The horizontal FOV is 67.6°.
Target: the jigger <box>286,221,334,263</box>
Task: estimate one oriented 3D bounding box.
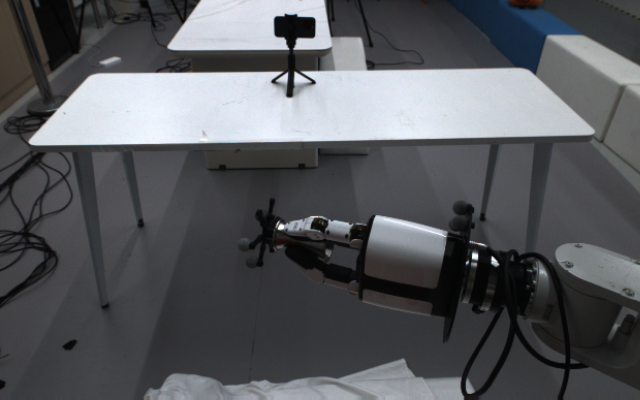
[{"bbox_3d":[-0.013,0.044,0.596,0.071,0.043,0.043,9,35,16],"label":"jigger"}]
